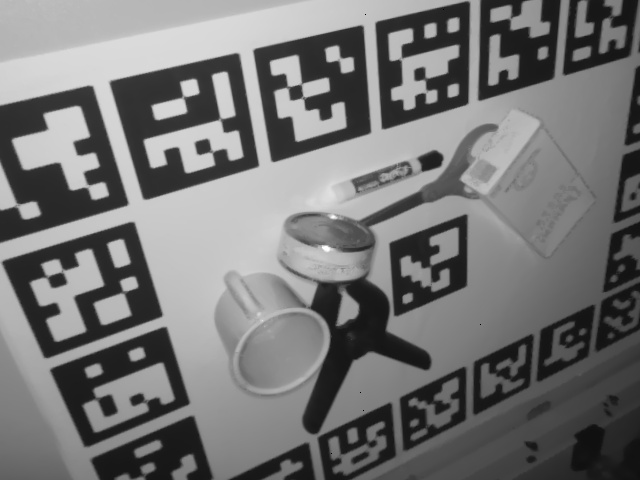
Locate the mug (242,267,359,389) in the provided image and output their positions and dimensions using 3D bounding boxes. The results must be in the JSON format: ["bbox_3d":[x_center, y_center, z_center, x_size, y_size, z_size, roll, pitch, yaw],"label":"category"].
[{"bbox_3d":[-0.029,0.070,0.641,0.093,0.081,0.117,-43,128,-2],"label":"mug"}]

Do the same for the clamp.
[{"bbox_3d":[0.054,0.107,0.738,0.167,0.036,0.202,-29,122,-12],"label":"clamp"}]

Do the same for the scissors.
[{"bbox_3d":[0.141,-0.046,0.705,0.204,0.016,0.087,-28,127,-11],"label":"scissors"}]

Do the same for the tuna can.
[{"bbox_3d":[0.019,0.008,0.630,0.087,0.085,0.033,-3,115,-26],"label":"tuna can"}]

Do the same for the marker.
[{"bbox_3d":[0.093,-0.068,0.673,0.122,0.019,0.019,-23,121,-17],"label":"marker"}]

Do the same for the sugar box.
[{"bbox_3d":[0.248,-0.054,0.737,0.093,0.045,0.178,-51,131,3],"label":"sugar box"}]
